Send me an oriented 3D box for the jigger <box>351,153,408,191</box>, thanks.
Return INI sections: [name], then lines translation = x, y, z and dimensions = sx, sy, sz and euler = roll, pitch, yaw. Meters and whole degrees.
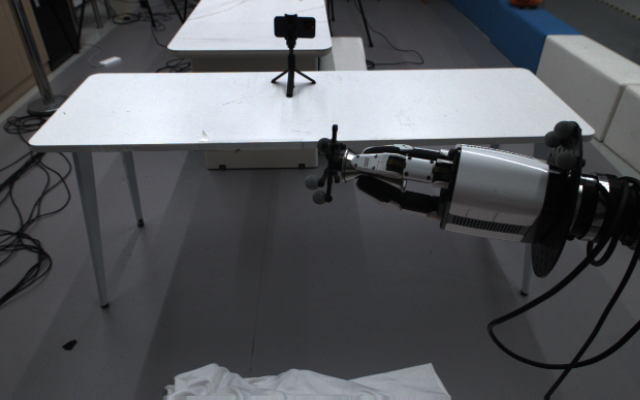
[jigger]
translation = 0.068, -0.039, 0.536
dimensions = 0.071, 0.043, 0.043
euler = 7, 35, 16
